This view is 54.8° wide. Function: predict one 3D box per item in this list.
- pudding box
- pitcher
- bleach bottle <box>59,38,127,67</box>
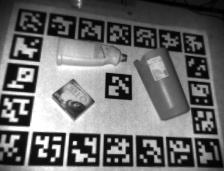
[{"bbox_3d":[-0.123,0.047,0.731,0.114,0.038,0.090,46,63,3],"label":"pudding box"},{"bbox_3d":[0.195,-0.010,0.798,0.191,0.132,0.242,-15,79,-52],"label":"pitcher"},{"bbox_3d":[-0.065,-0.117,0.791,0.252,0.067,0.102,0,76,-15],"label":"bleach bottle"}]
